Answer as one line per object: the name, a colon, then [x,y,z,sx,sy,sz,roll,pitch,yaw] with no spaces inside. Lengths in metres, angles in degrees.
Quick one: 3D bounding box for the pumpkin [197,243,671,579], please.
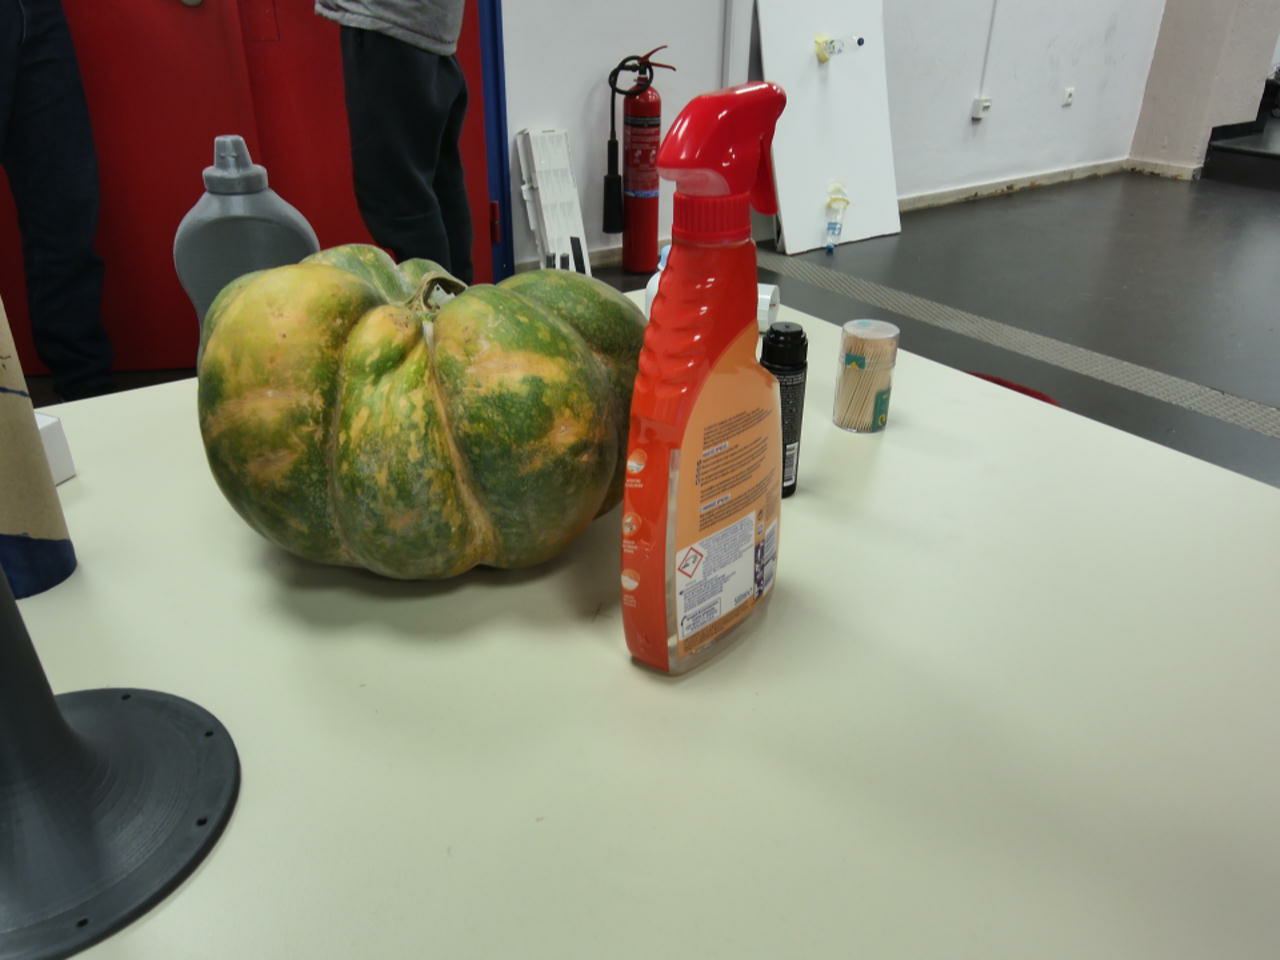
pumpkin: [-0.119,-0.048,0.563,0.270,0.173,0.237,1,26,1]
